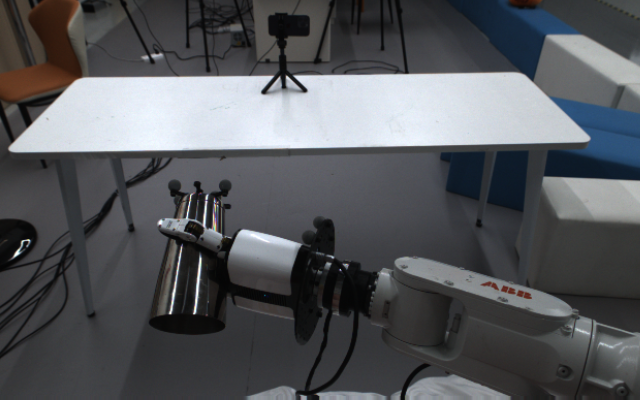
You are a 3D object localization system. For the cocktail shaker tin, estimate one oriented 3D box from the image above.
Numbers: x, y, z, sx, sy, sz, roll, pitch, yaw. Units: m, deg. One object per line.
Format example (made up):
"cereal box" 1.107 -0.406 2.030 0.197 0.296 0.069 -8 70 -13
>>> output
"cocktail shaker tin" -0.165 0.080 0.630 0.093 0.093 0.170 0 59 -3
